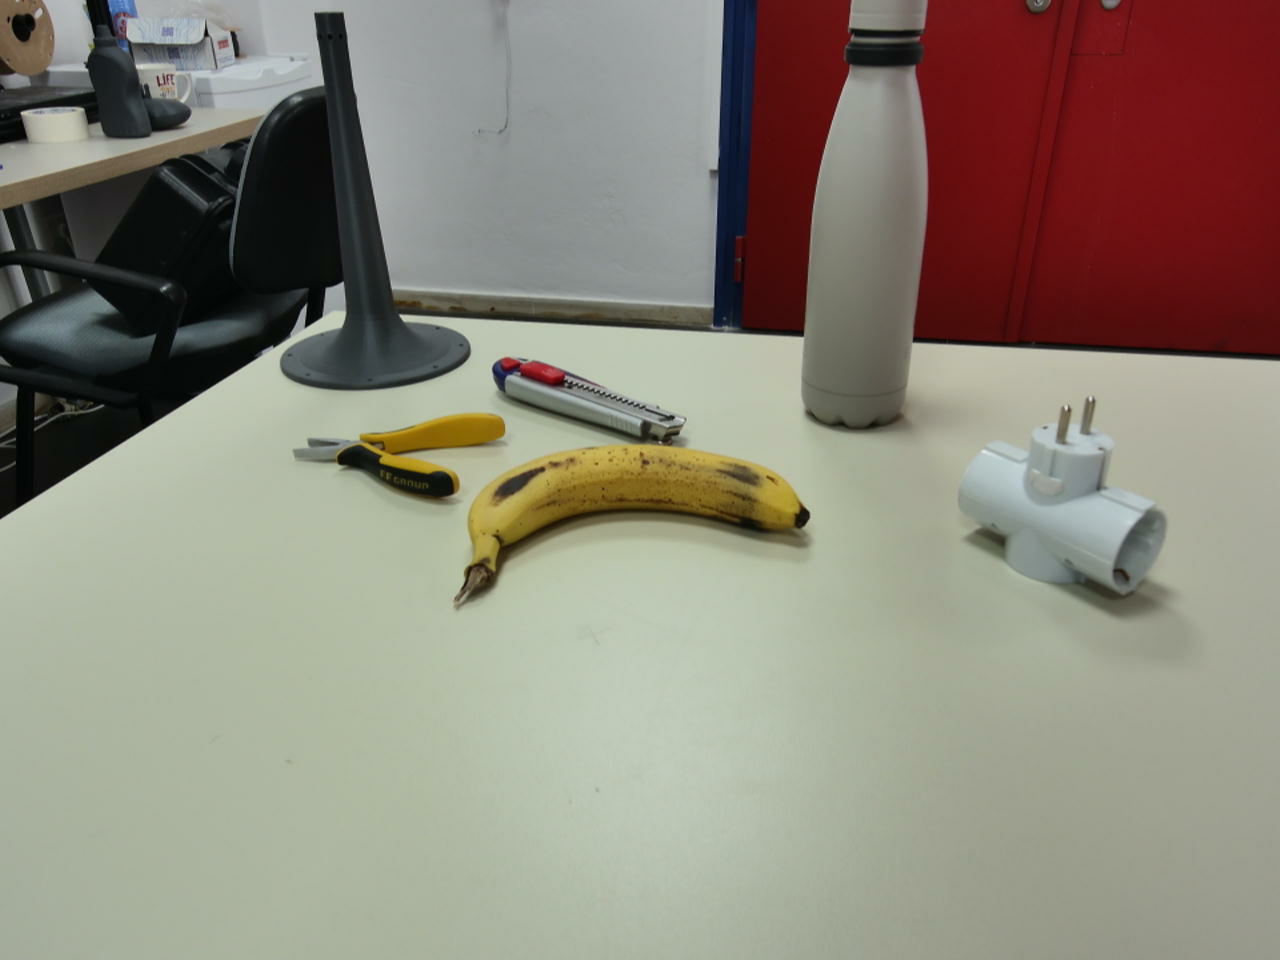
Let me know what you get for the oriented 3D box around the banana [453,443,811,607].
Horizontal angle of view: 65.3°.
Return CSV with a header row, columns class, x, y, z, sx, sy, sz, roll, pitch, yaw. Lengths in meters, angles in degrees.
class,x,y,z,sx,sy,sz,roll,pitch,yaw
banana,-0.009,0.012,0.550,0.186,0.038,0.097,-7,26,-14
